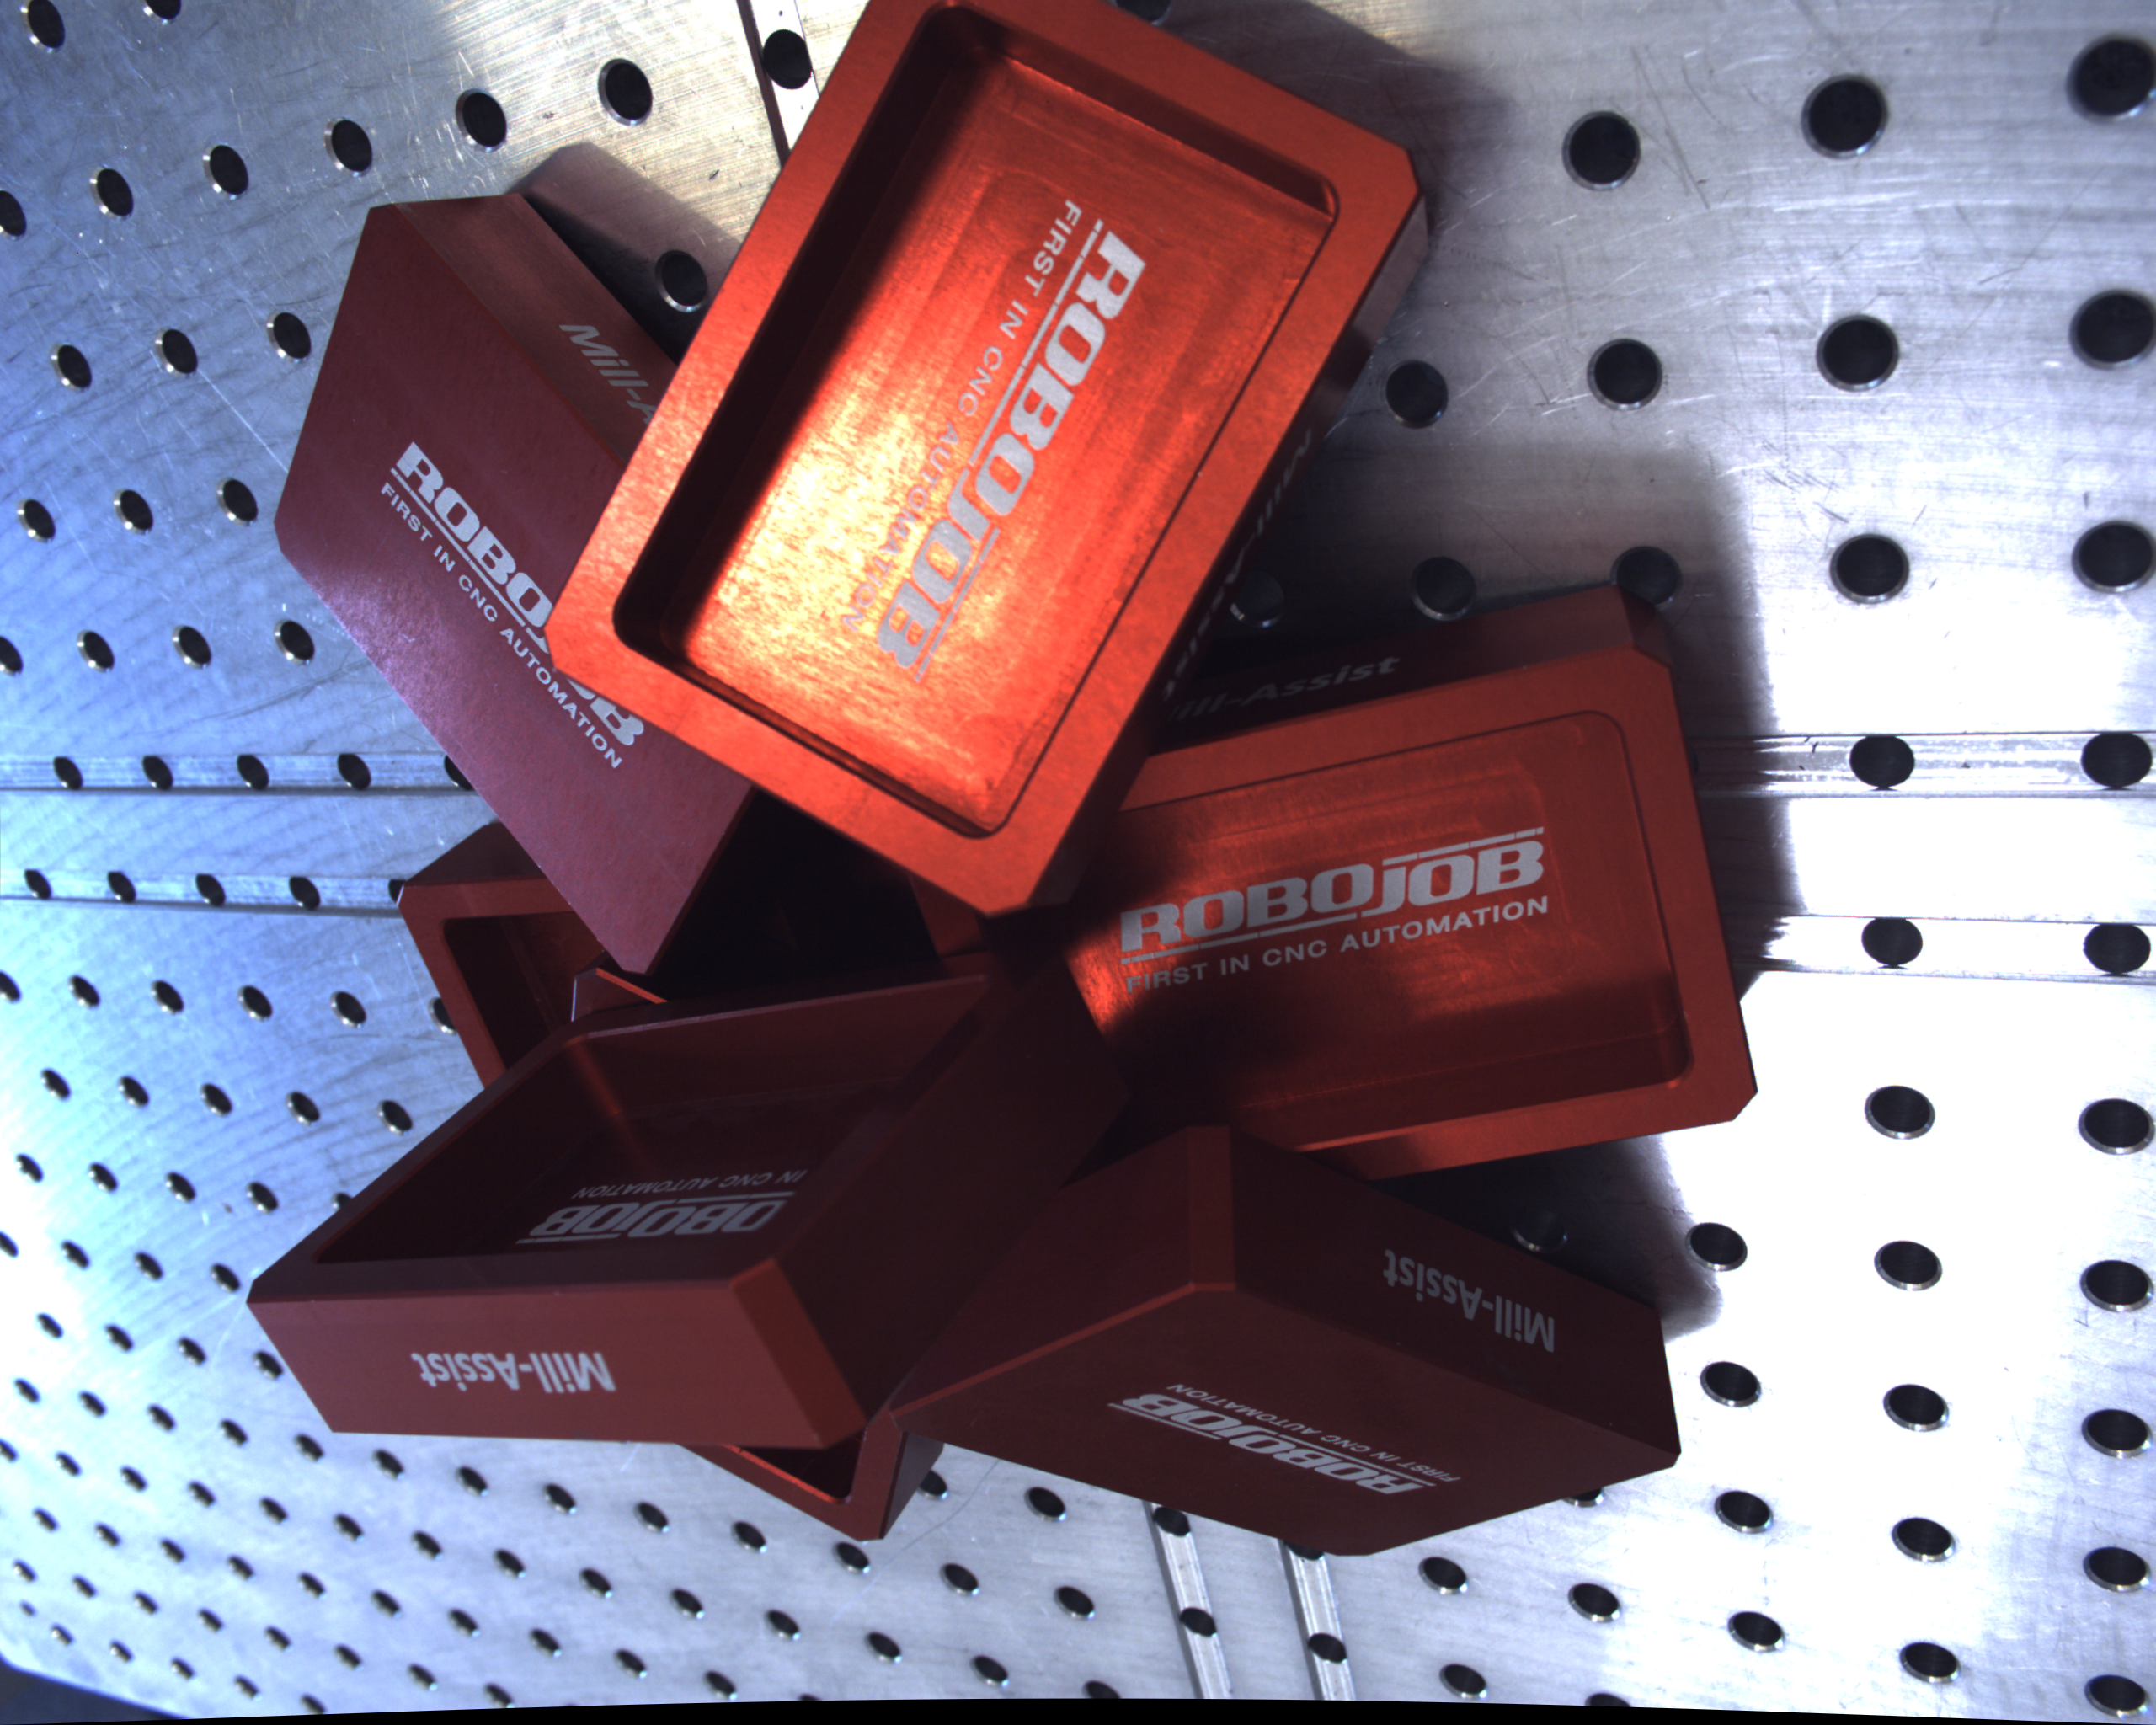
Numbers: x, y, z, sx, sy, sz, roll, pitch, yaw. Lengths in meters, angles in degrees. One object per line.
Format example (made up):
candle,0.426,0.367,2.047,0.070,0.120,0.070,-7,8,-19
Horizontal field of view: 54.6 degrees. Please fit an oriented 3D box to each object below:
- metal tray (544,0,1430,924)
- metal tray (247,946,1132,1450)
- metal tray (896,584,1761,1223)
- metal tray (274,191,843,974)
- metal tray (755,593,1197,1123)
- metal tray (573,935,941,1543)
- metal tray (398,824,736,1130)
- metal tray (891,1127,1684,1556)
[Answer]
metal tray,-0.014,-0.066,0.331,0.090,0.030,0.130,30,95,9
metal tray,-0.067,0.057,0.356,0.130,0.090,0.030,-10,113,37
metal tray,0.045,0.011,0.368,0.130,0.030,0.090,-12,113,14
metal tray,-0.099,-0.054,0.406,0.130,0.030,0.090,48,131,14
metal tray,-0.022,0.006,0.423,0.090,0.030,0.129,-6,114,28
metal tray,-0.066,0.081,0.454,0.090,0.030,0.129,24,127,13
metal tray,-0.094,0.052,0.491,0.090,0.030,0.129,-5,116,29
metal tray,0.041,0.098,0.404,0.131,0.030,0.090,27,138,-33
